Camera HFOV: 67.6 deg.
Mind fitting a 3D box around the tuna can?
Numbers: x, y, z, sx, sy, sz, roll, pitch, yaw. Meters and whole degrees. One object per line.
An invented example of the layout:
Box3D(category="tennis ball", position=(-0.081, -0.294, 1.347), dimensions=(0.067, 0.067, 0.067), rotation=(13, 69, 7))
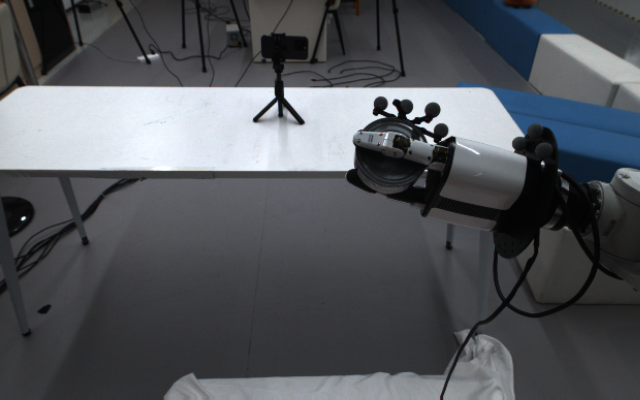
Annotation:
Box3D(category="tuna can", position=(0.084, -0.055, 0.572), dimensions=(0.085, 0.034, 0.085), rotation=(0, 72, 0))
